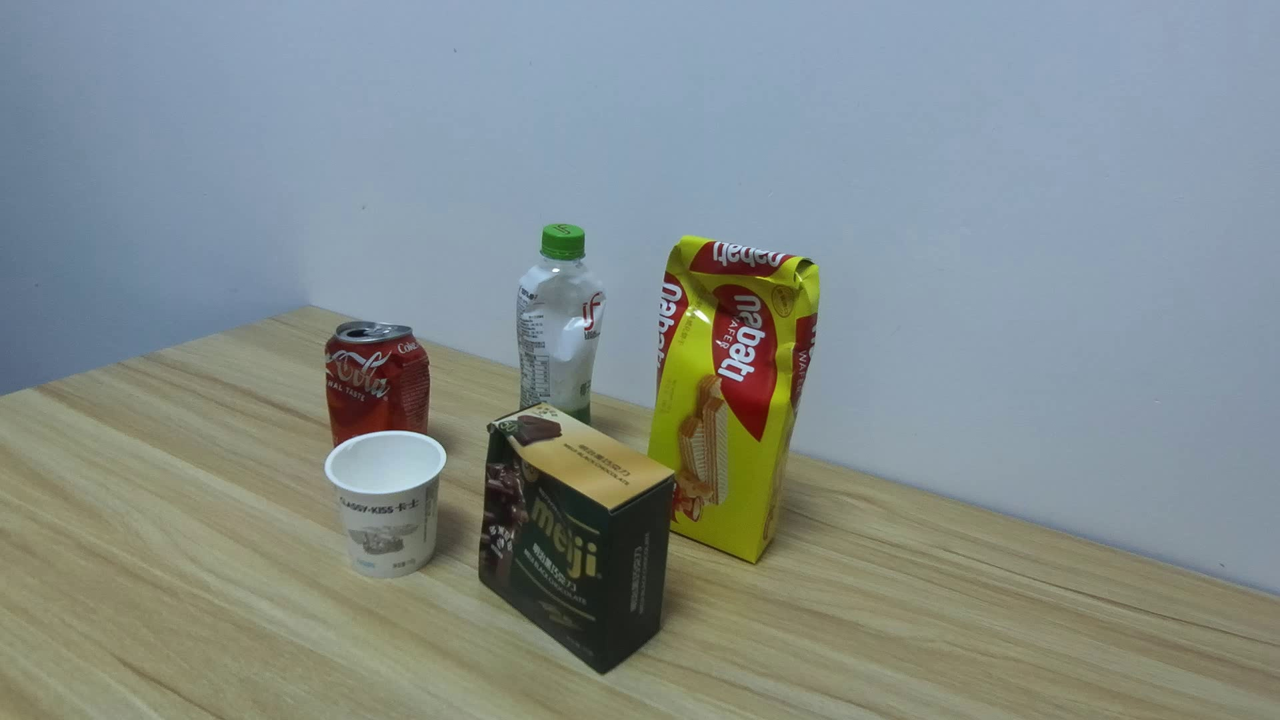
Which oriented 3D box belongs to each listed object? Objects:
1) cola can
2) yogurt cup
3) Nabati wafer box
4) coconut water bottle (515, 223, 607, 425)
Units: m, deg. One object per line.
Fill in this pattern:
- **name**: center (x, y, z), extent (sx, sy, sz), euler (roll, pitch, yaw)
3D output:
- **cola can**: center (-0.195, 0.028, 0.530), extent (0.066, 0.112, 0.069), euler (-18, 33, -41)
- **yogurt cup**: center (-0.156, 0.091, 0.441), extent (0.072, 0.068, 0.072), euler (4, 24, -2)
- **Nabati wafer box**: center (0.056, 0.027, 0.466), extent (0.113, 0.205, 0.043), euler (15, 23, 26)
- **coconut water bottle**: center (-0.062, -0.008, 0.541), extent (0.069, 0.187, 0.069), euler (6, 20, -2)
